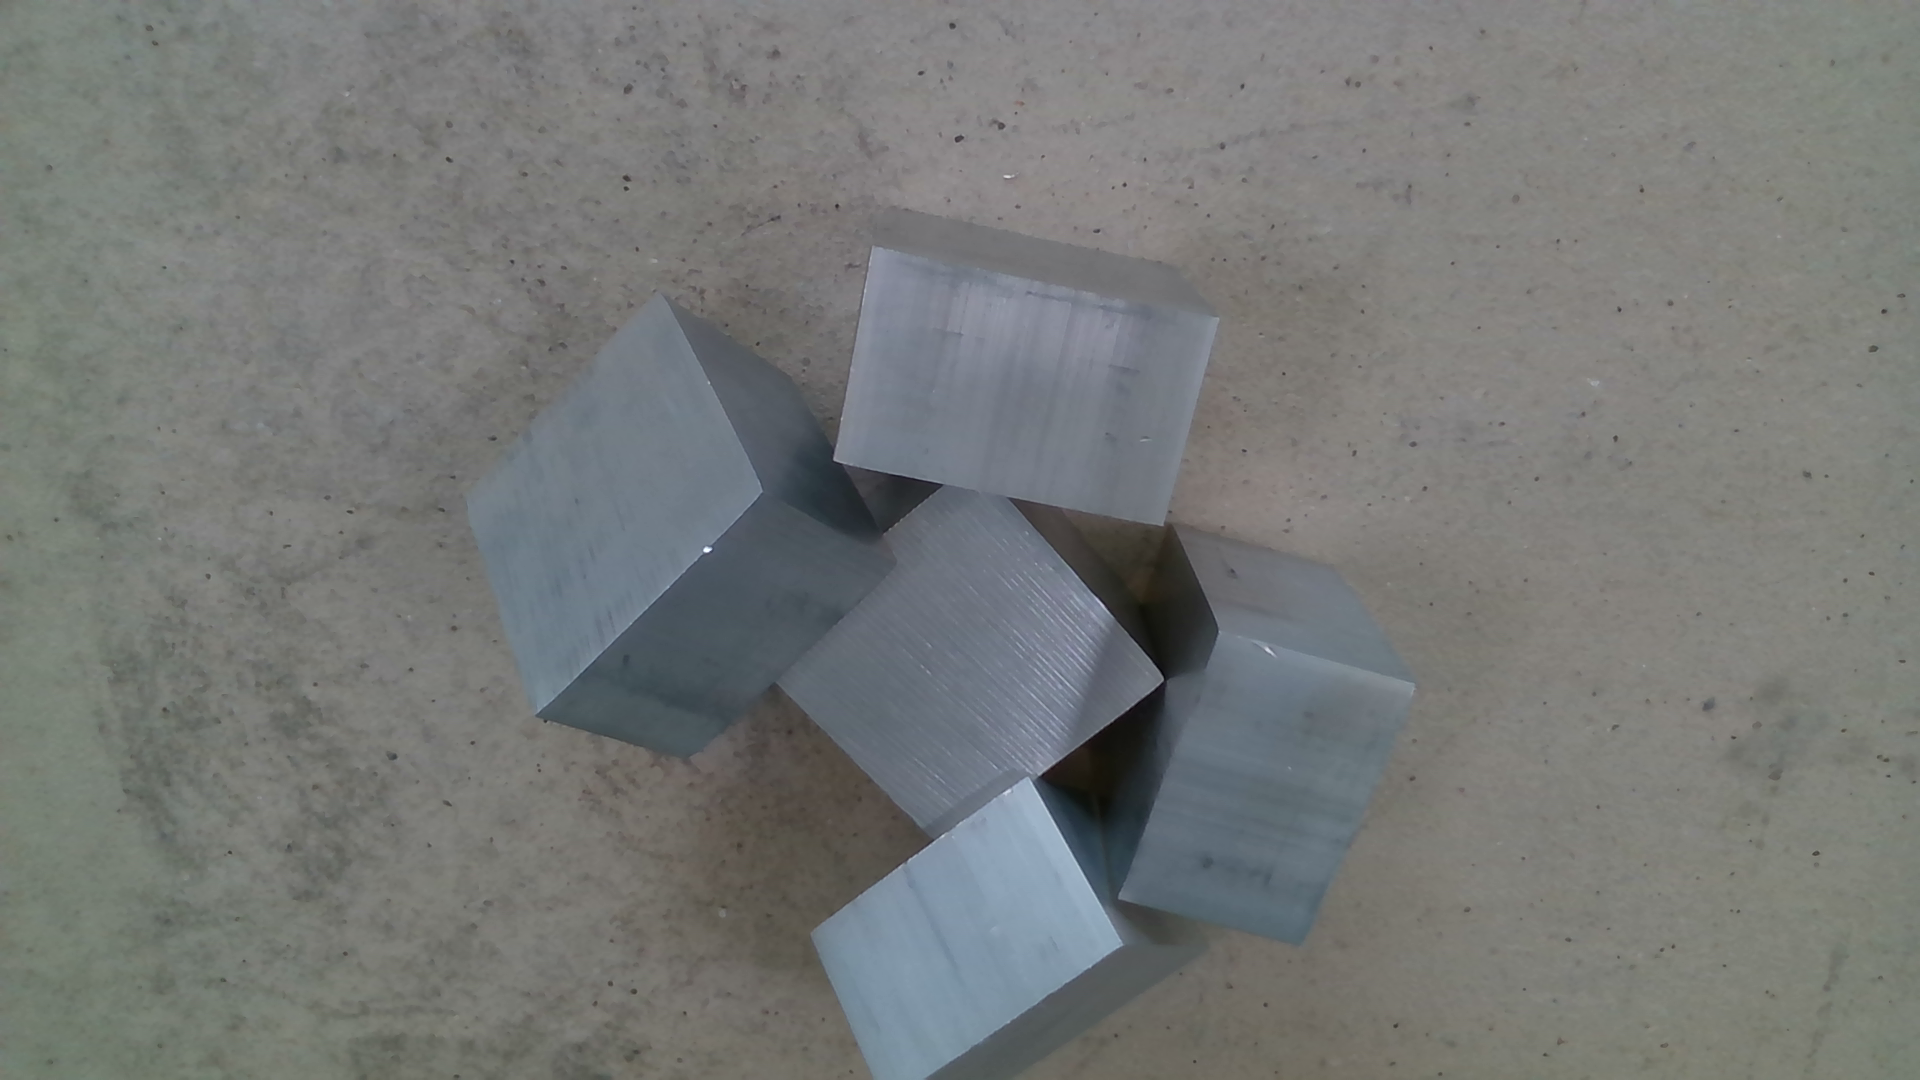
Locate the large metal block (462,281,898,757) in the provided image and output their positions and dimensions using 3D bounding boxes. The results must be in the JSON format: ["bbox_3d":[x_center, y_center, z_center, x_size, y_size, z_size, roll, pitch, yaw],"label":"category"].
[{"bbox_3d":[-0.075,-0.005,0.356,0.080,0.080,0.050,-43,142,14],"label":"large metal block"}]

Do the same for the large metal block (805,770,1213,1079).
[{"bbox_3d":[0.016,0.115,0.400,0.080,0.080,0.050,-38,62,12],"label":"large metal block"}]

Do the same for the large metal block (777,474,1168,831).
[{"bbox_3d":[-0.001,0.024,0.387,0.080,0.050,0.080,-39,105,14],"label":"large metal block"}]

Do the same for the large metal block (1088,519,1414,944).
[{"bbox_3d":[0.075,0.050,0.383,0.050,0.080,0.080,15,109,-6],"label":"large metal block"}]

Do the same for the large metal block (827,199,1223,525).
[{"bbox_3d":[0.014,-0.048,0.348,0.080,0.080,0.050,11,110,-3],"label":"large metal block"}]
